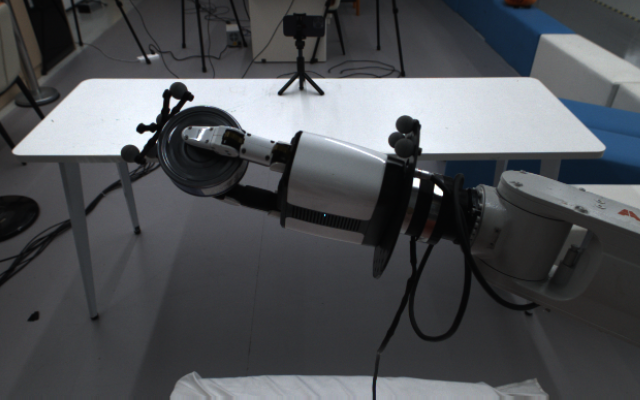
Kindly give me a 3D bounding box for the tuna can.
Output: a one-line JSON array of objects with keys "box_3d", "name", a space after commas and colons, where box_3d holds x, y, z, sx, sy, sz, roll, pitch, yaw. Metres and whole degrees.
[{"box_3d": [-0.110, -0.044, 0.475, 0.085, 0.034, 0.085, 1, 76, -6], "name": "tuna can"}]
